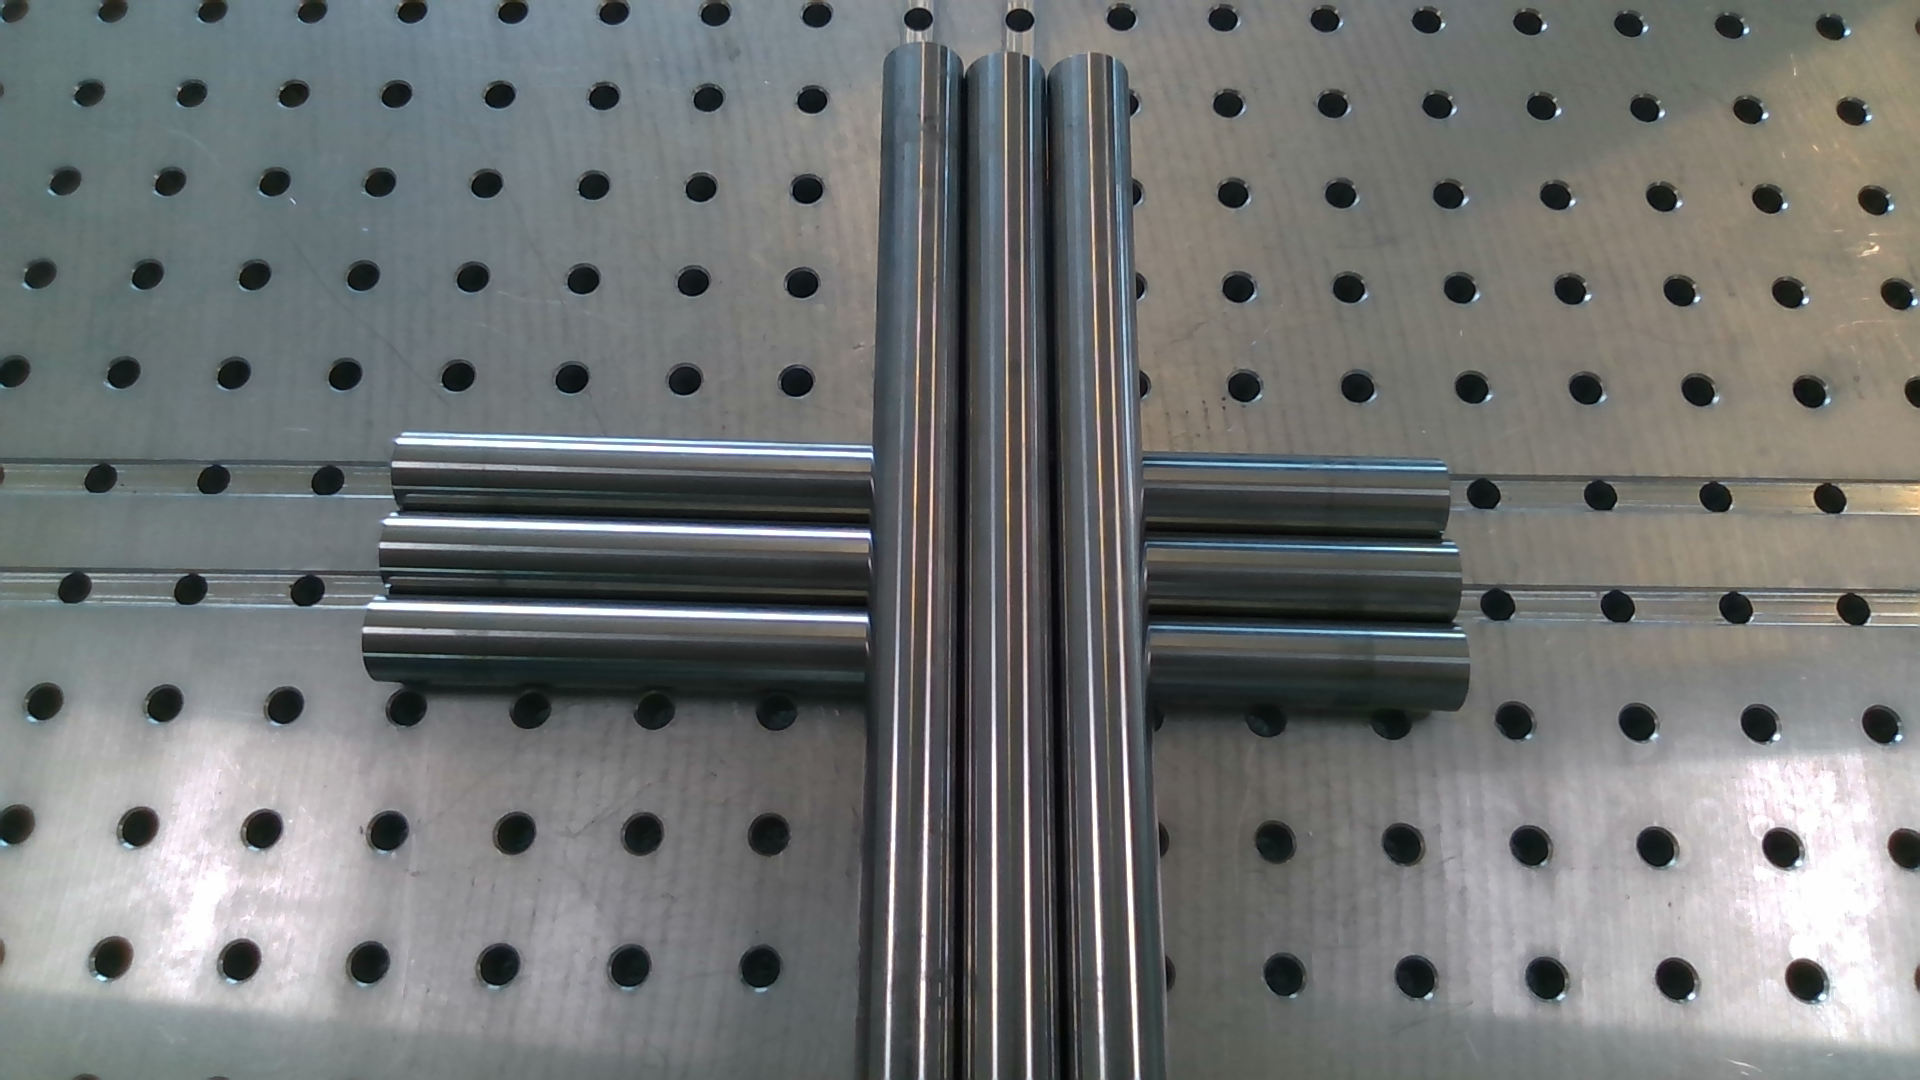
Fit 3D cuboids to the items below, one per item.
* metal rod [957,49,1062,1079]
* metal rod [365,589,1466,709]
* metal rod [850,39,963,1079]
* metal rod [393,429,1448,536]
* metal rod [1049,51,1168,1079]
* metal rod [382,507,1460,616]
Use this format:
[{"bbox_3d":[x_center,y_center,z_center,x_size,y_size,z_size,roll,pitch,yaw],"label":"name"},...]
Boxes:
[{"bbox_3d":[0.013,-0.001,0.372,0.025,0.025,0.299,0,70,0],"label":"metal rod"},{"bbox_3d":[-0.013,0.031,0.387,0.300,0.025,0.025,2,70,1],"label":"metal rod"},{"bbox_3d":[-0.012,-0.004,0.373,0.025,0.025,0.299,0,70,0],"label":"metal rod"},{"bbox_3d":[-0.012,-0.016,0.404,0.300,0.025,0.025,2,70,1],"label":"metal rod"},{"bbox_3d":[0.038,0.000,0.371,0.025,0.025,0.299,0,70,0],"label":"metal rod"},{"bbox_3d":[-0.011,0.007,0.396,0.300,0.025,0.025,2,70,1],"label":"metal rod"}]
